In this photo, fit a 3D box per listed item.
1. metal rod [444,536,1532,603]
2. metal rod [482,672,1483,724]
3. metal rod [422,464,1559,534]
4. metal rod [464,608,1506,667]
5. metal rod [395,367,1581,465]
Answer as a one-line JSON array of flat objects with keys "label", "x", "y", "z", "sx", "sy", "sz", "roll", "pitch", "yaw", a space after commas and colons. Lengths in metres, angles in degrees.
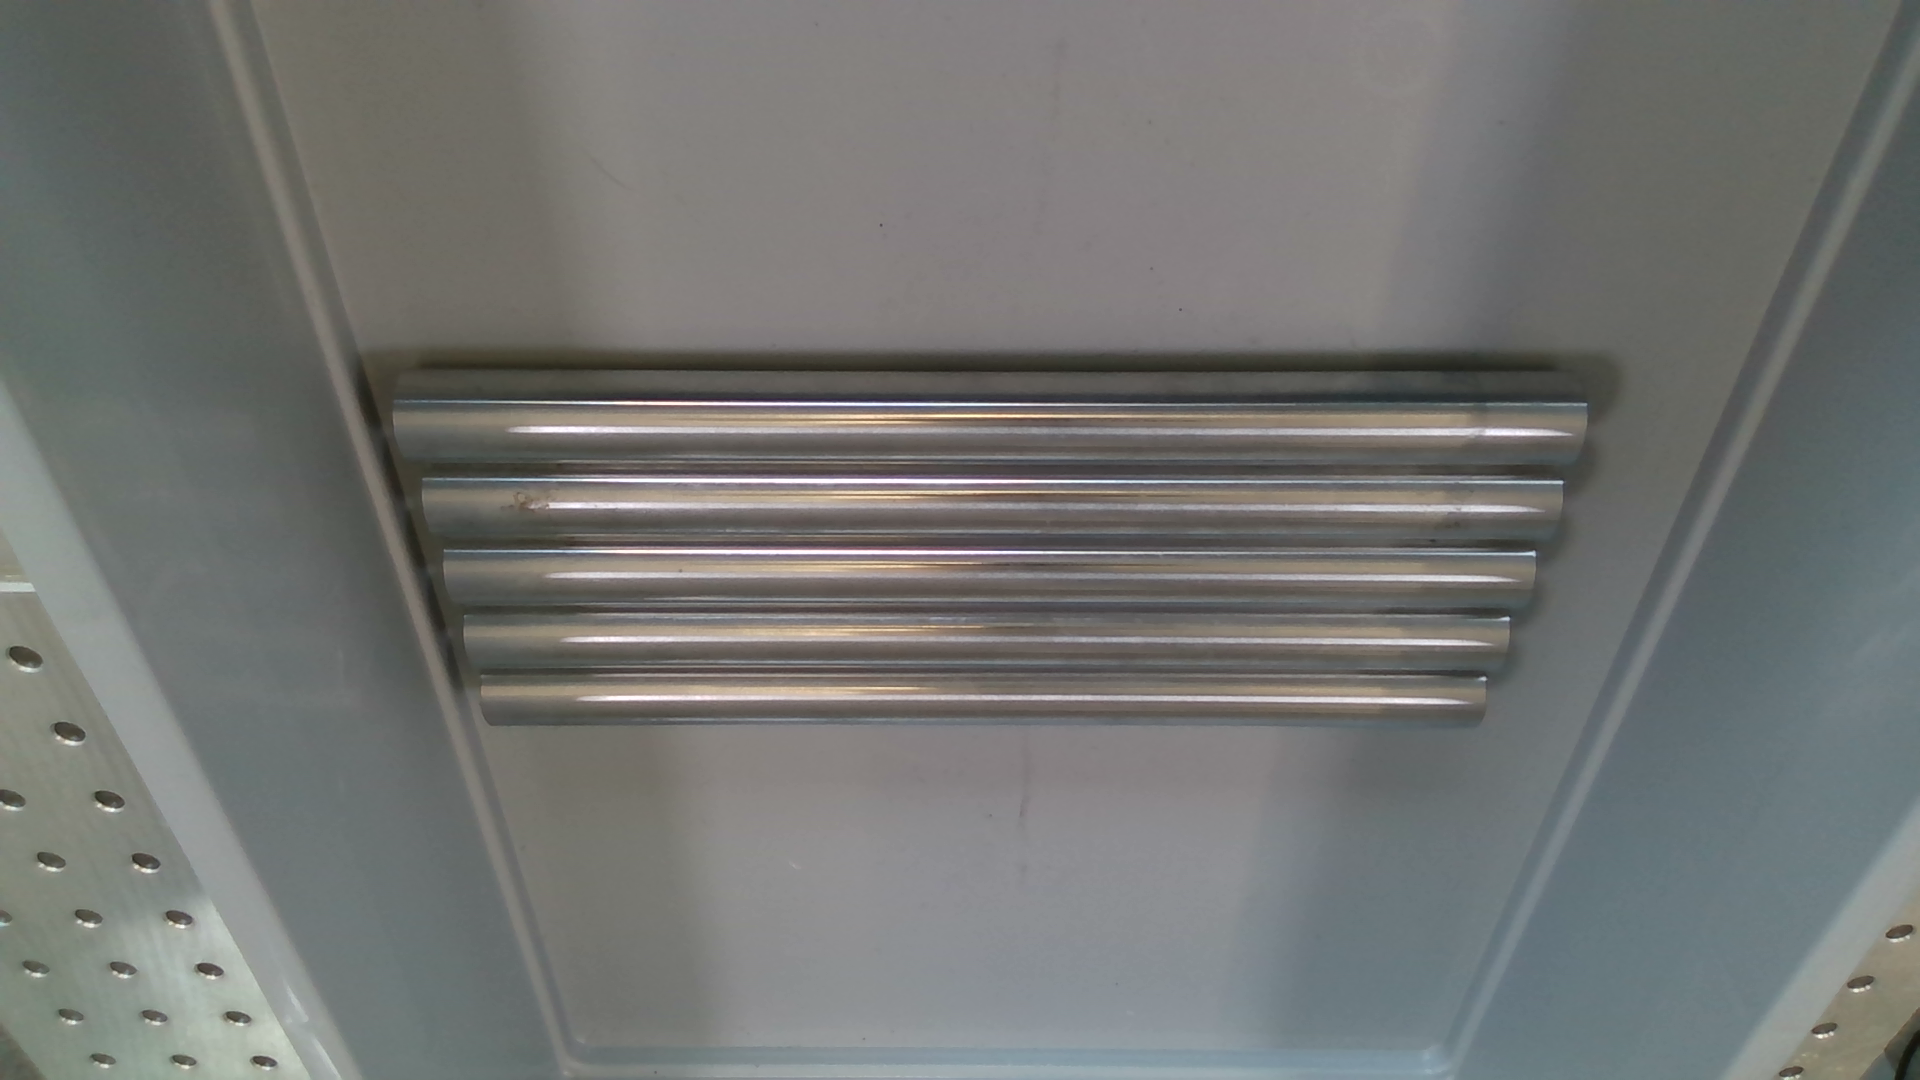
[{"label": "metal rod", "x": 0.008, "y": 0.005, "z": 0.392, "sx": 0.300, "sy": 0.025, "sz": 0.025, "roll": 0, "pitch": 130, "yaw": 0}, {"label": "metal rod", "x": 0.007, "y": 0.044, "z": 0.425, "sx": 0.300, "sy": 0.025, "sz": 0.025, "roll": 0, "pitch": 130, "yaw": 0}, {"label": "metal rod", "x": 0.008, "y": -0.014, "z": 0.376, "sx": 0.300, "sy": 0.025, "sz": 0.025, "roll": 0, "pitch": 130, "yaw": 0}, {"label": "metal rod", "x": 0.007, "y": 0.025, "z": 0.409, "sx": 0.300, "sy": 0.025, "sz": 0.025, "roll": 0, "pitch": 130, "yaw": 0}, {"label": "metal rod", "x": 0.007, "y": -0.032, "z": 0.360, "sx": 0.300, "sy": 0.025, "sz": 0.025, "roll": 0, "pitch": 130, "yaw": 0}]
